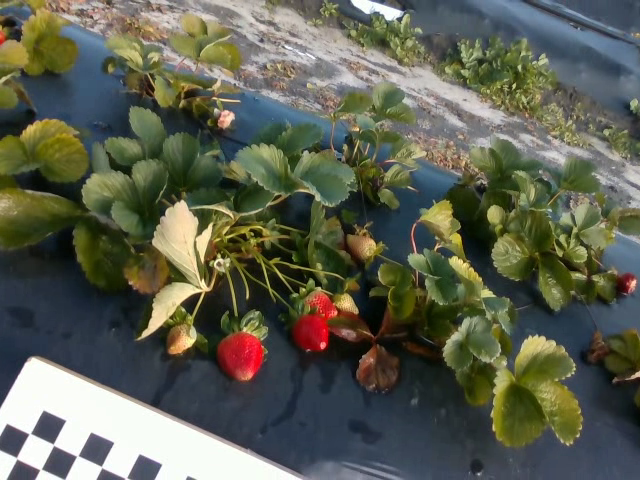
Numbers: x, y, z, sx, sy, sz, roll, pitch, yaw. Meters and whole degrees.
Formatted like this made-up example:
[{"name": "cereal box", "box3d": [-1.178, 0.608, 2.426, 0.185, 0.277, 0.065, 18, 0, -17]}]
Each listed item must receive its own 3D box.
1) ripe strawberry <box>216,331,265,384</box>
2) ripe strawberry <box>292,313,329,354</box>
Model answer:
[{"name": "ripe strawberry", "box3d": [-0.080, 0.121, 0.609, 0.050, 0.050, 0.065, -16, 26, -3]}, {"name": "ripe strawberry", "box3d": [-0.009, 0.106, 0.656, 0.044, 0.042, 0.055, -39, 32, -7]}]
